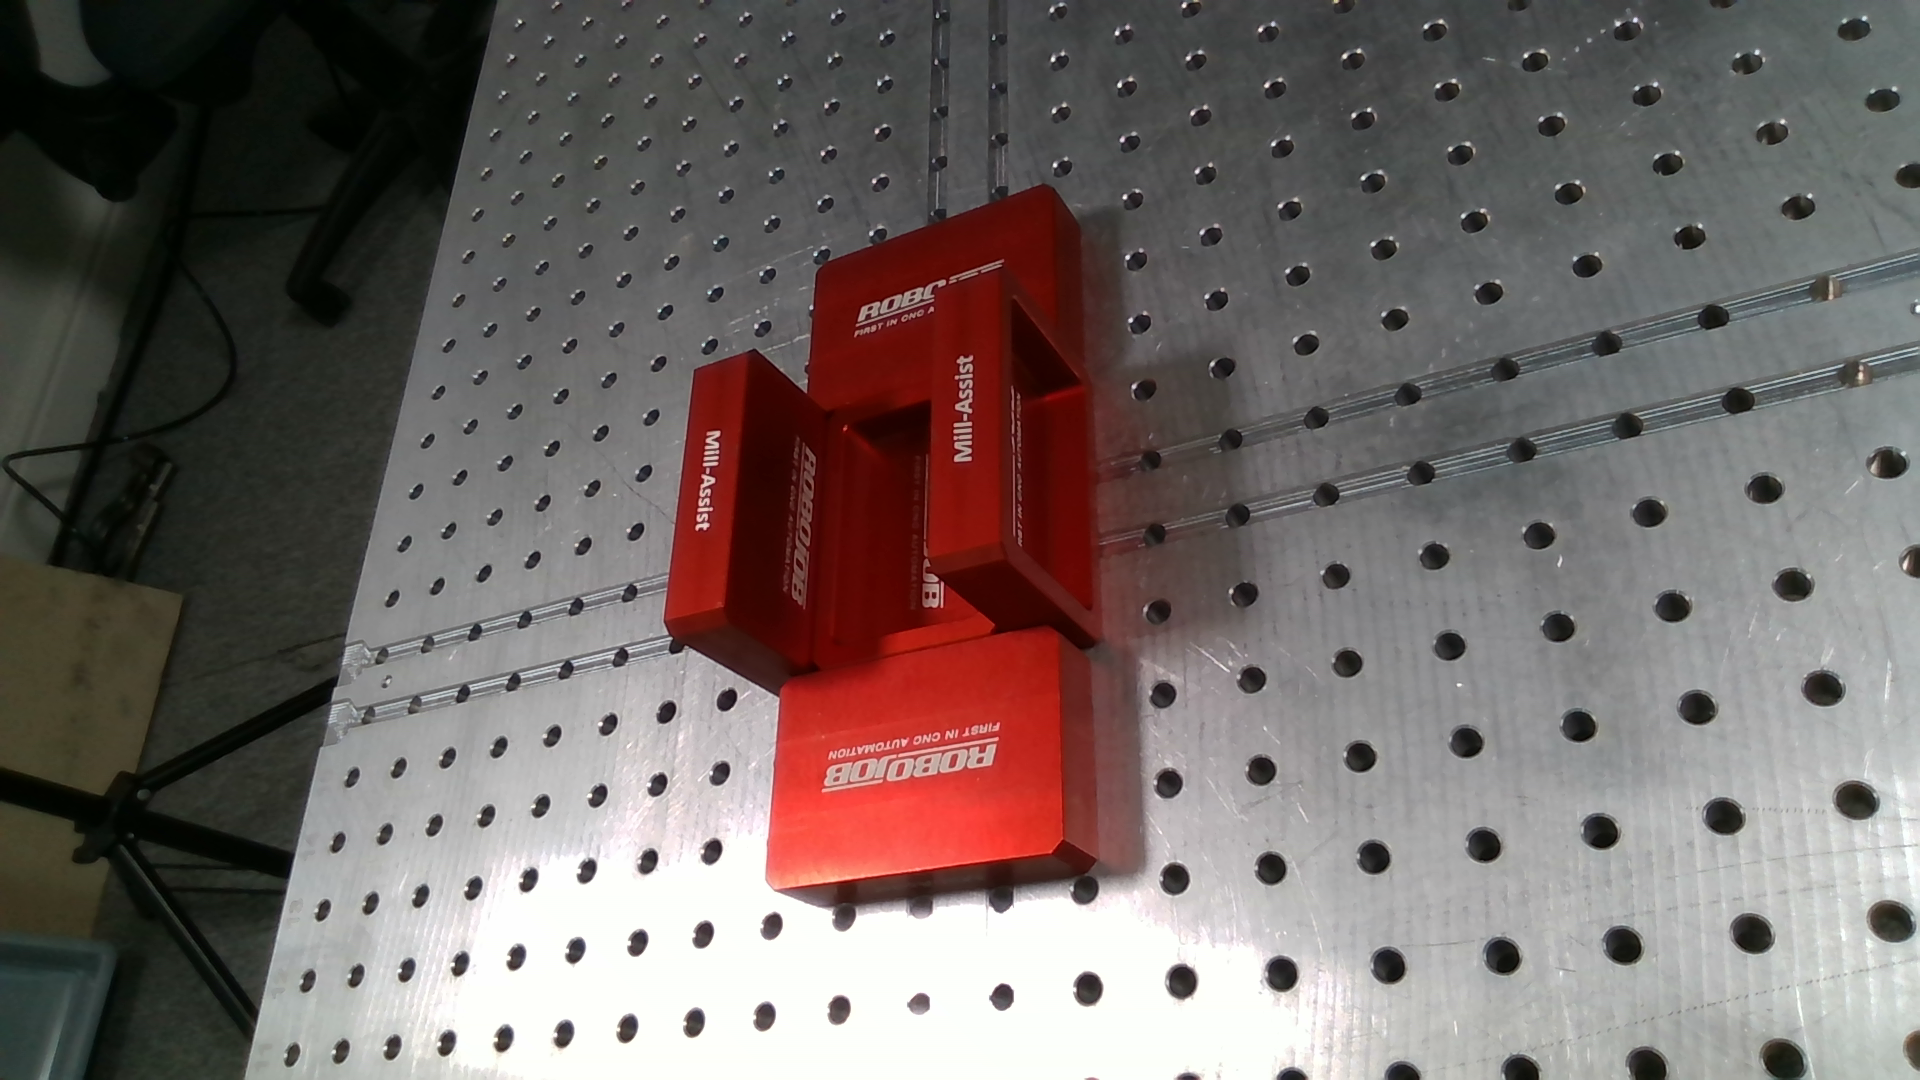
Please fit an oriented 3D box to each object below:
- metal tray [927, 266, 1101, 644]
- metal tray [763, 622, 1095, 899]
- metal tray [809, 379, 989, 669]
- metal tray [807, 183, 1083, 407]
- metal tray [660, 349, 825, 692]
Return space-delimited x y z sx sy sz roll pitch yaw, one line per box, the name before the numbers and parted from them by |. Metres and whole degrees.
metal tray | 0.023 -0.031 0.549 0.030 0.090 0.130 -14 59 25
metal tray | -0.014 0.090 0.544 0.130 0.030 0.090 -14 60 25
metal tray | -0.016 -0.007 0.596 0.090 0.030 0.130 -14 59 25
metal tray | -0.008 -0.105 0.646 0.130 0.030 0.090 -14 59 25
metal tray | -0.084 -0.006 0.599 0.030 0.090 0.130 -14 59 25
